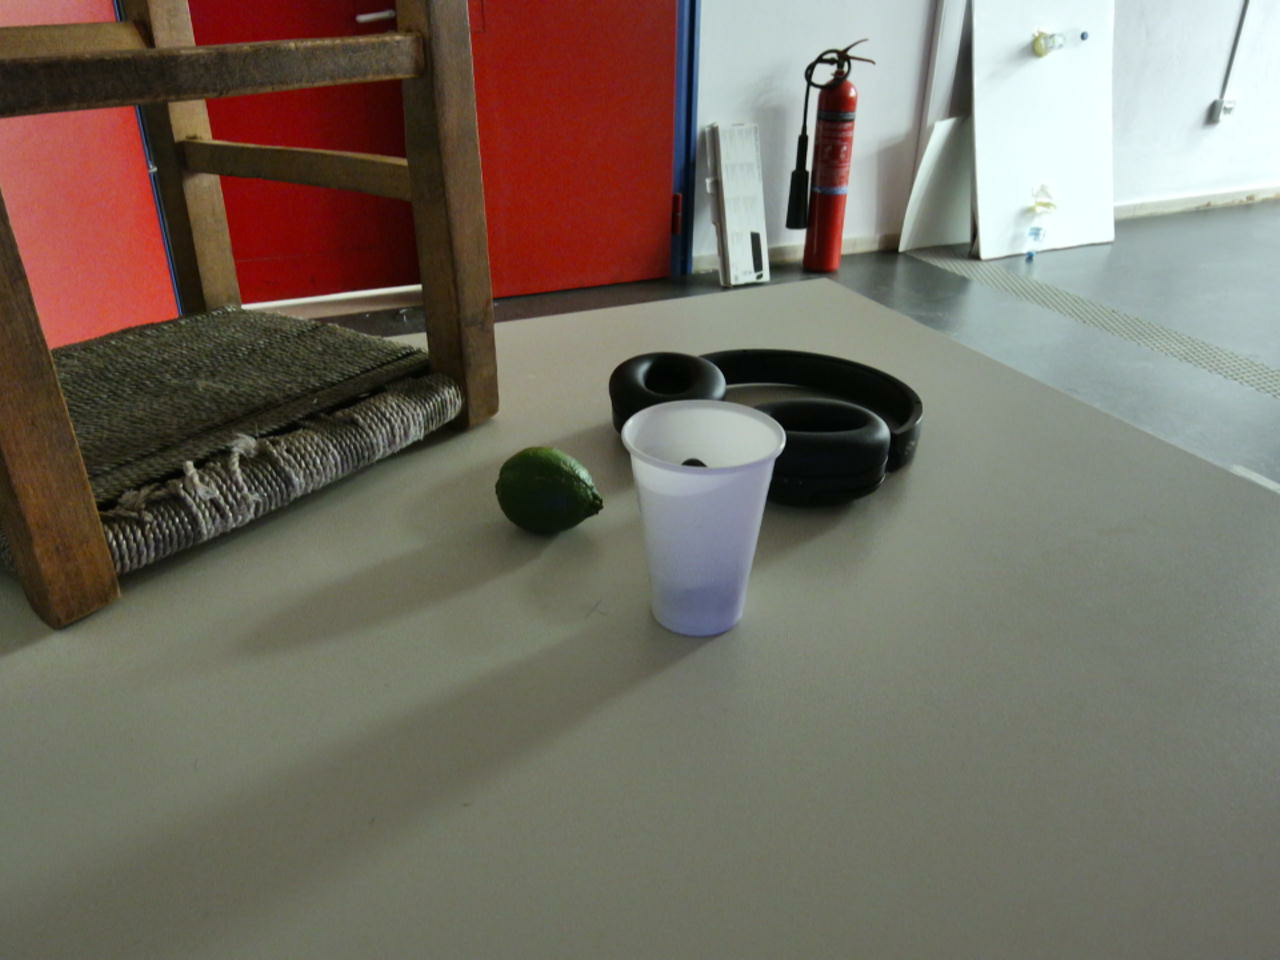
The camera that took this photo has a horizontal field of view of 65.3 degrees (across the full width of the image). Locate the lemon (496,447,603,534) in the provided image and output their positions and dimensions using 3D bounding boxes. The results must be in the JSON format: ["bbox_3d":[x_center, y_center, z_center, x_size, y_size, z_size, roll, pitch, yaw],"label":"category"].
[{"bbox_3d":[-0.056,0.006,0.592,0.057,0.051,0.054,-13,29,-25],"label":"lemon"}]
